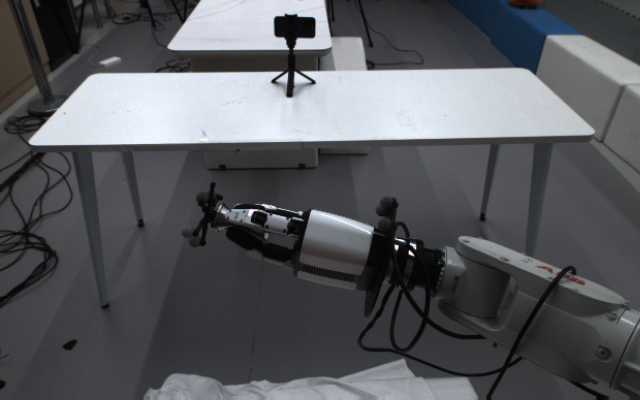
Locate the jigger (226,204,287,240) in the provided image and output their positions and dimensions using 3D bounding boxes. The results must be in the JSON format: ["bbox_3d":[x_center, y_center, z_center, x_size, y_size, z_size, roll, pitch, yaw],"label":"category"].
[{"bbox_3d":[-0.094,0.028,0.645,0.071,0.043,0.043,13,36,4],"label":"jigger"}]
